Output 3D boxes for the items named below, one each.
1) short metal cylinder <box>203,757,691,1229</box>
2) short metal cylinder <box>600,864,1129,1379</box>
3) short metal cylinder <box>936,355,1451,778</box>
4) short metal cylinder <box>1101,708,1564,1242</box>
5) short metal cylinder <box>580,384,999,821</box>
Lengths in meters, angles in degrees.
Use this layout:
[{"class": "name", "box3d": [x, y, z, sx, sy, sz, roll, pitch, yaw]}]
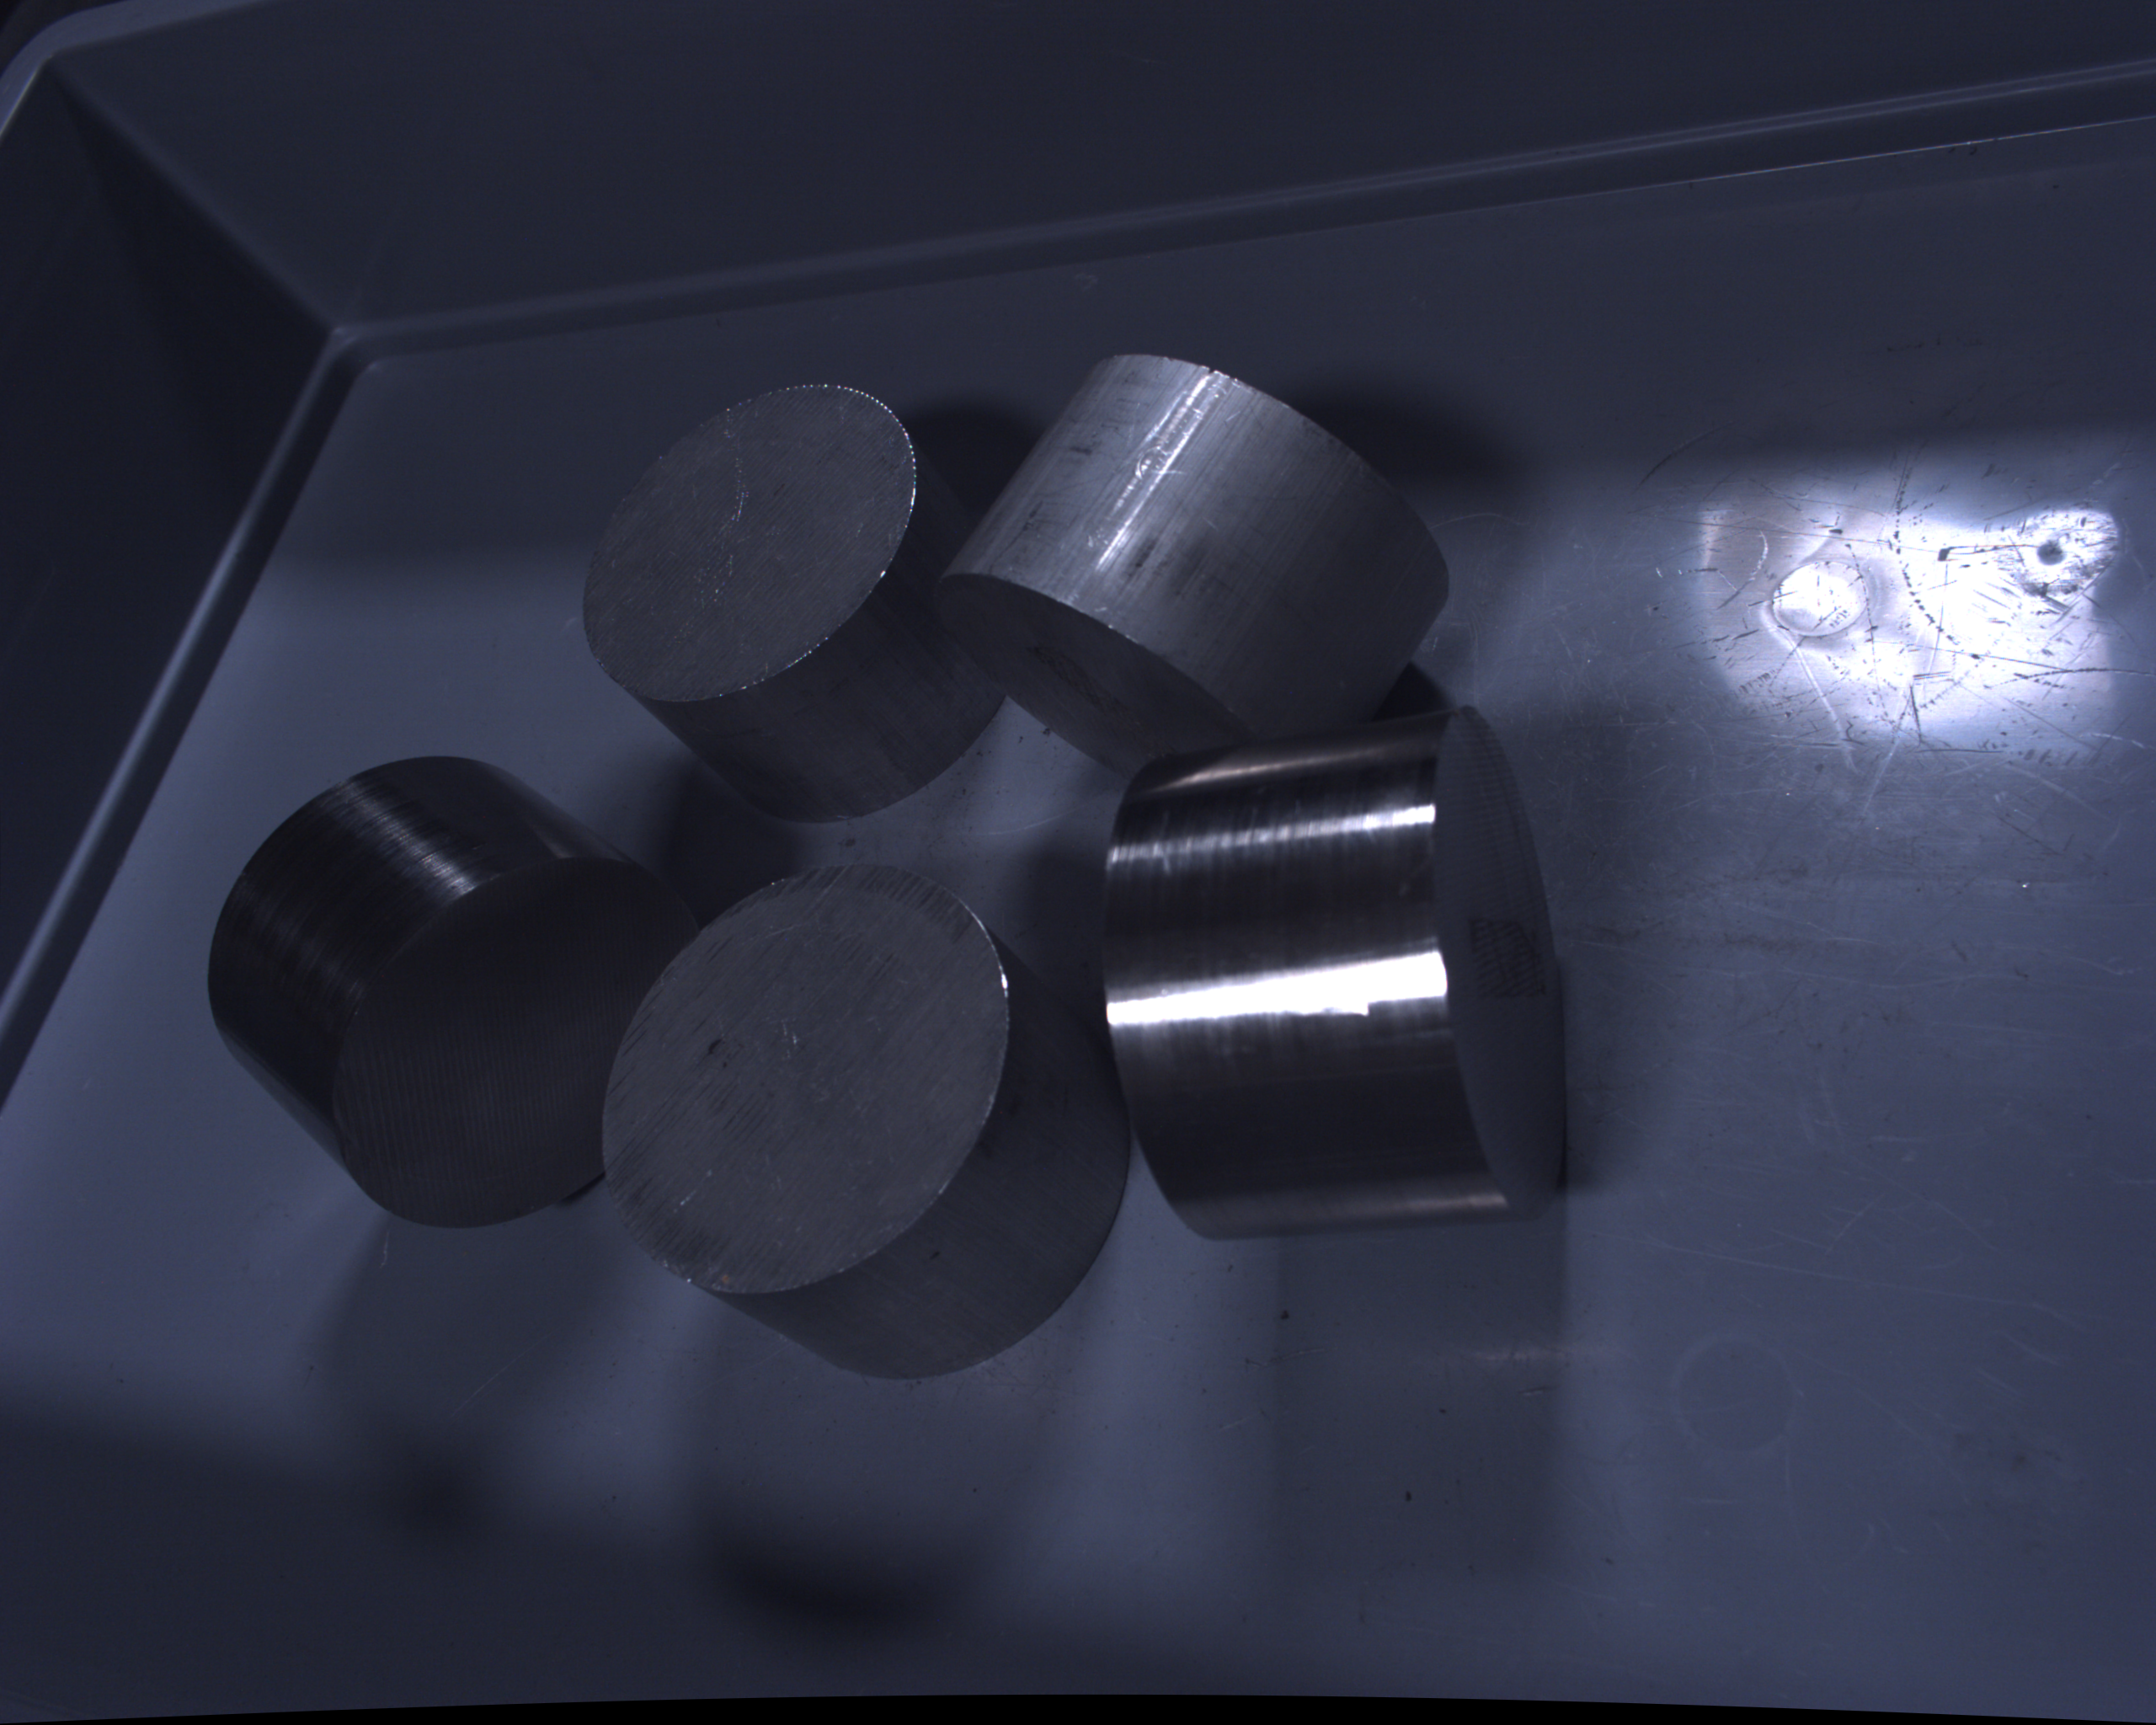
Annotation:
[{"class": "short metal cylinder", "box3d": [-0.123, 0.025, 0.415, 0.050, 0.080, 0.080, 30, 78, 37]}, {"class": "short metal cylinder", "box3d": [-0.038, 0.047, 0.377, 0.080, 0.050, 0.080, -13, 56, 20]}, {"class": "short metal cylinder", "box3d": [0.021, -0.048, 0.387, 0.080, 0.080, 0.050, 24, 75, 36]}, {"class": "short metal cylinder", "box3d": [0.043, 0.019, 0.333, 0.050, 0.080, 0.080, -9, 58, 23]}, {"class": "short metal cylinder", "box3d": [-0.059, -0.056, 0.451, 0.080, 0.050, 0.080, -13, 56, 20]}]
